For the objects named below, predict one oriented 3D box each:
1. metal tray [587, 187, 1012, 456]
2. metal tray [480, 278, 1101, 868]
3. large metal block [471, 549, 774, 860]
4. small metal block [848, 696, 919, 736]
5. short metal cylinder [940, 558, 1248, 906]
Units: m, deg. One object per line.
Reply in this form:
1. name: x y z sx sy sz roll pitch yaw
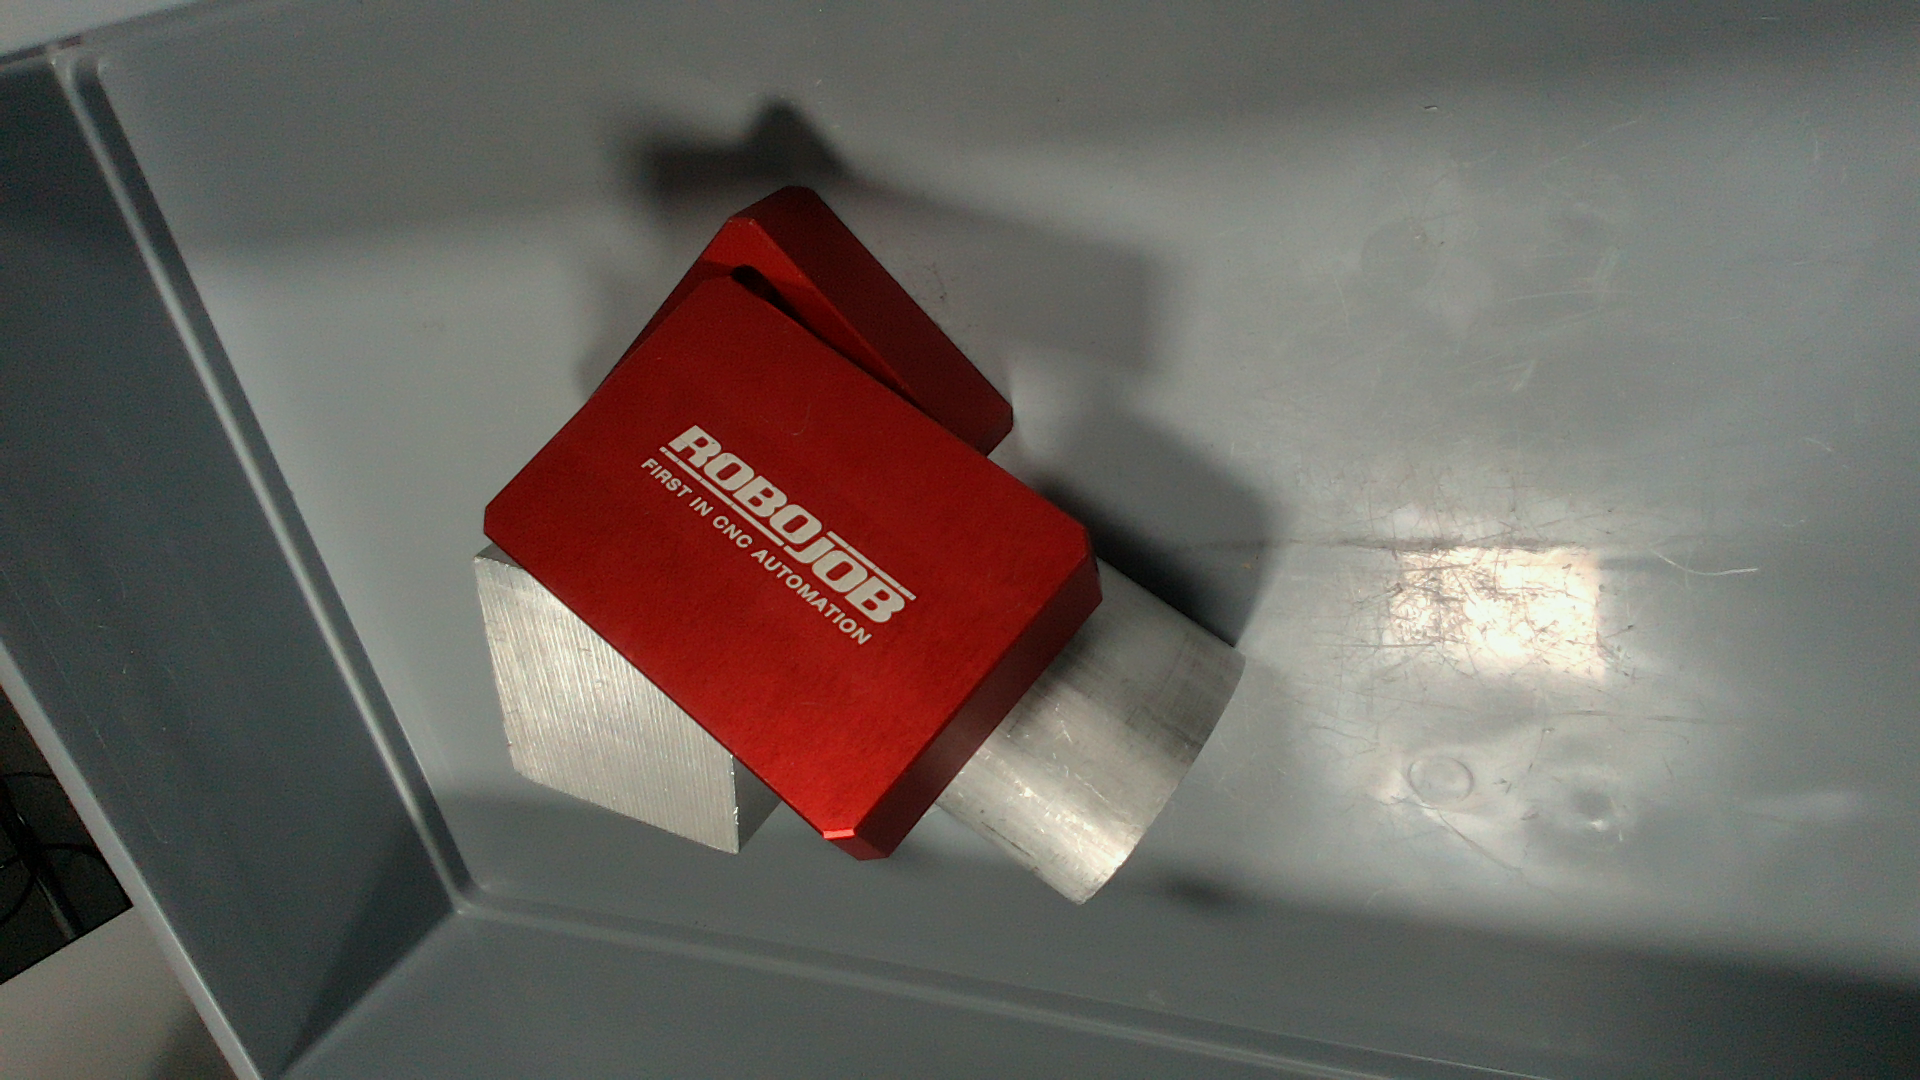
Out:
1. metal tray: -0.058 -0.027 0.402 0.090 0.030 0.130 47 129 -5
2. metal tray: -0.042 0.004 0.337 0.130 0.090 0.030 36 169 22
3. large metal block: -0.088 0.036 0.403 0.080 0.050 0.080 15 125 20
4. small metal block: -0.010 0.055 0.431 0.050 0.025 0.050 -33 100 38
5. short metal cylinder: 0.033 0.050 0.369 0.050 0.080 0.080 34 129 6
